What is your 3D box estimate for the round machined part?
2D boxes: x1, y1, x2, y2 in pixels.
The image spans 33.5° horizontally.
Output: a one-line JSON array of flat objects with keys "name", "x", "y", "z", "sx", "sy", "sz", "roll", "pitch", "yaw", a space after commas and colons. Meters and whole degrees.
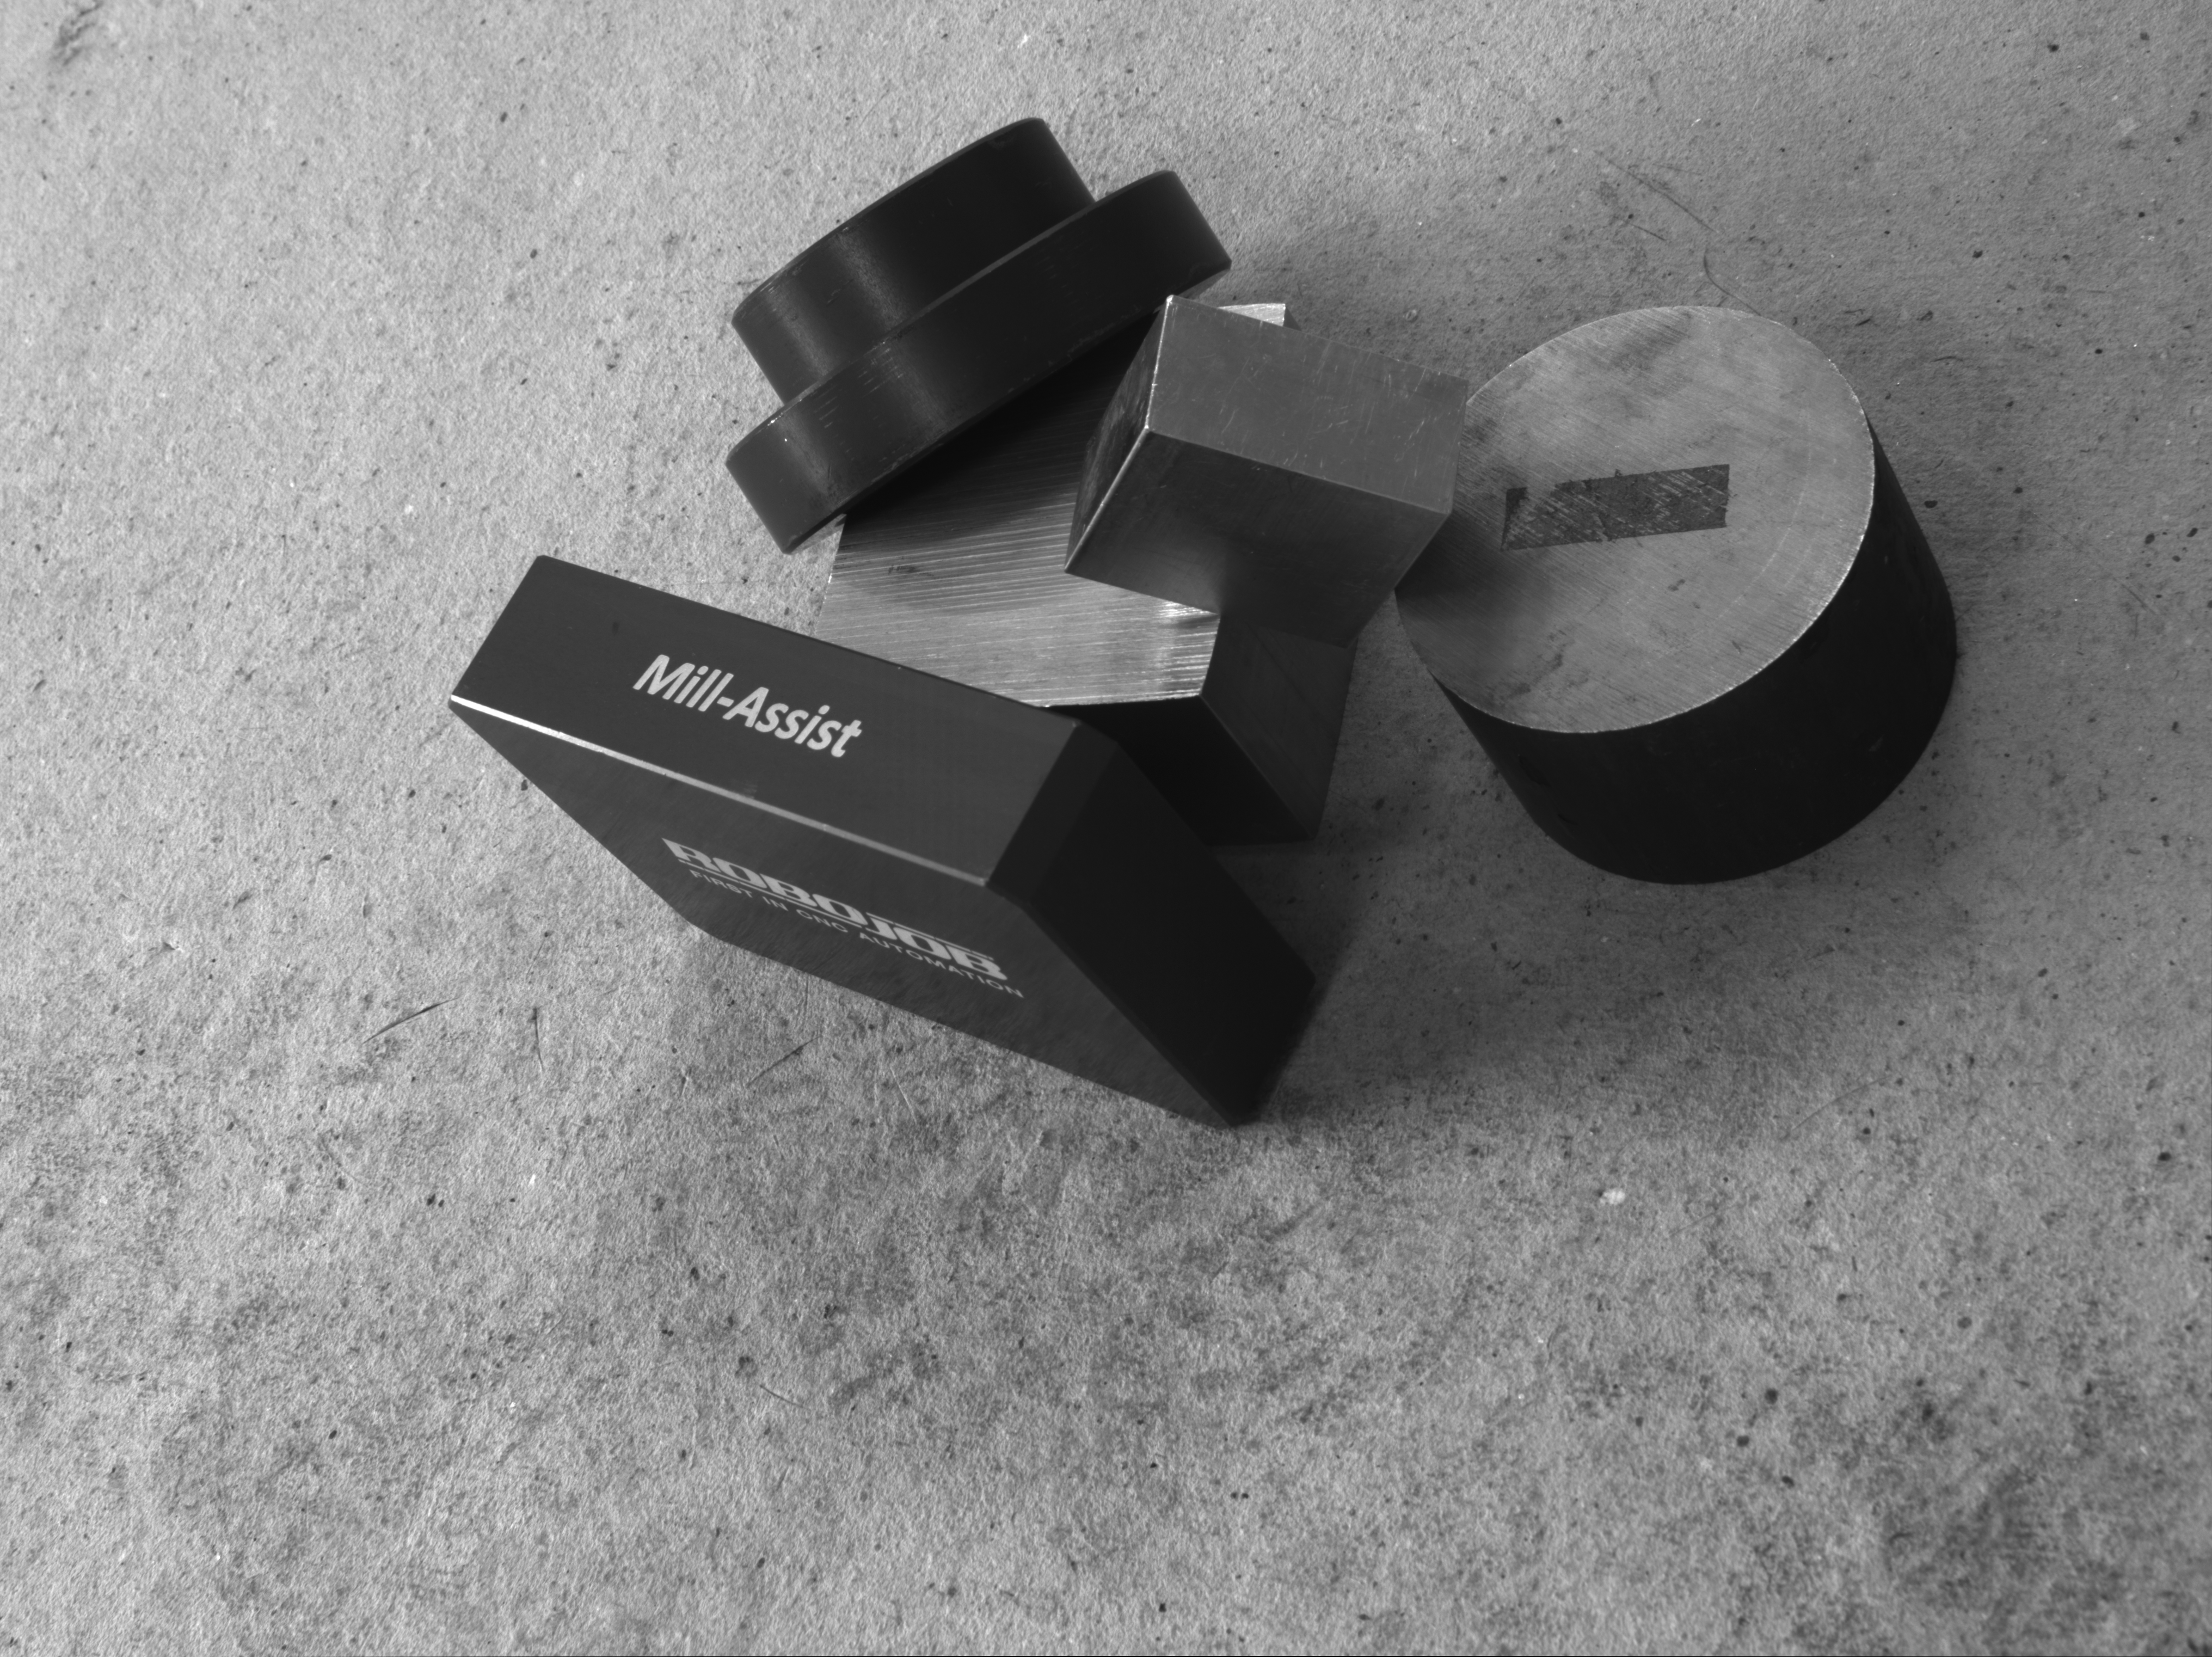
[{"name": "round machined part", "x": -0.030, "y": -0.094, "z": 0.672, "sx": 0.098, "sy": 0.098, "sz": 0.042, "roll": -32, "pitch": 95, "yaw": 8}]

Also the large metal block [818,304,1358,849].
[{"name": "large metal block", "x": -0.001, "y": -0.043, "z": 0.658, "sx": 0.080, "sy": 0.050, "sz": 0.080, "roll": -2, "pitch": 61, "yaw": 28}]

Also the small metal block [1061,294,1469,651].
[{"name": "small metal block", "x": 0.025, "y": -0.056, "z": 0.592, "sx": 0.050, "sy": 0.050, "sz": 0.025, "roll": 14, "pitch": 65, "yaw": -11}]

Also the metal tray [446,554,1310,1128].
[{"name": "metal tray", "x": -0.039, "y": 0.002, "z": 0.623, "sx": 0.130, "sy": 0.090, "sz": 0.030, "roll": 18, "pitch": 71, "yaw": 35}]

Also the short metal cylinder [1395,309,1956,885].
[{"name": "short metal cylinder", "x": 0.094, "y": -0.038, "z": 0.603, "sx": 0.080, "sy": 0.050, "sz": 0.080, "roll": -14, "pitch": 56, "yaw": 21}]
